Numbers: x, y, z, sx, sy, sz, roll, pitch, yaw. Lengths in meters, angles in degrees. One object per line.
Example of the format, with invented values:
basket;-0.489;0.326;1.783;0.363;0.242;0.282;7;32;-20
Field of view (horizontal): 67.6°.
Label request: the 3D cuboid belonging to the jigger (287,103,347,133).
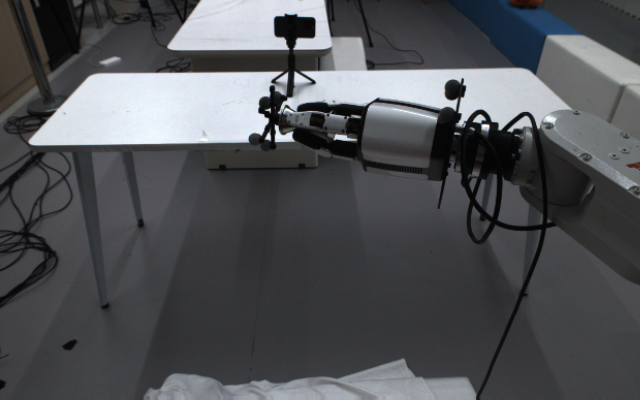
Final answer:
jigger;-0.010;-0.105;0.639;0.071;0.043;0.043;10;35;16
